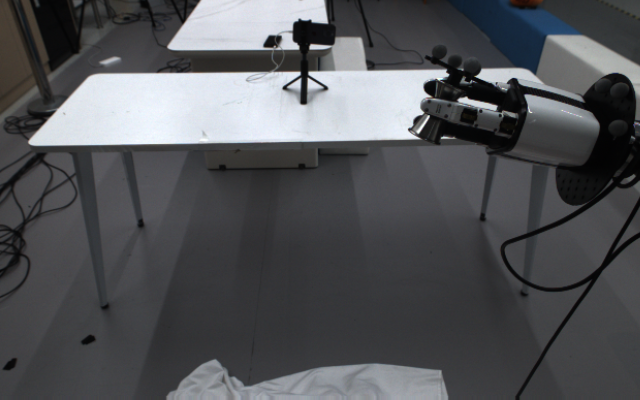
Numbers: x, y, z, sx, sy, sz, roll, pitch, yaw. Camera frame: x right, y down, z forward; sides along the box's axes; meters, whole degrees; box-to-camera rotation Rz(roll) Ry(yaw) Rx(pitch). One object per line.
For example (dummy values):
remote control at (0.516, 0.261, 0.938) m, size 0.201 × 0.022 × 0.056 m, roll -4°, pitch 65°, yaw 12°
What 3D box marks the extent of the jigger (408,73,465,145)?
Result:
jigger at (0.139, -0.106, 0.580) m, size 0.043 × 0.071 × 0.043 m, roll 23°, pitch 19°, yaw -8°
